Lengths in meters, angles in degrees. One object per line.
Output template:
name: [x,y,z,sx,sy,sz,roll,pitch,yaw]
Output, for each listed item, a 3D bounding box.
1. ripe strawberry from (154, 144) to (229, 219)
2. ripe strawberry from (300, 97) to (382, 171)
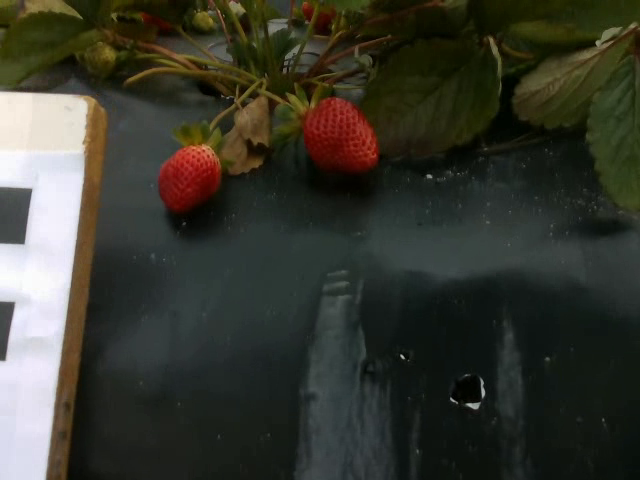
ripe strawberry: [-0.065,-0.032,0.289,0.036,0.041,0.028,0,-27,11]
ripe strawberry: [0.011,-0.054,0.303,0.059,0.044,0.041,46,5,30]
